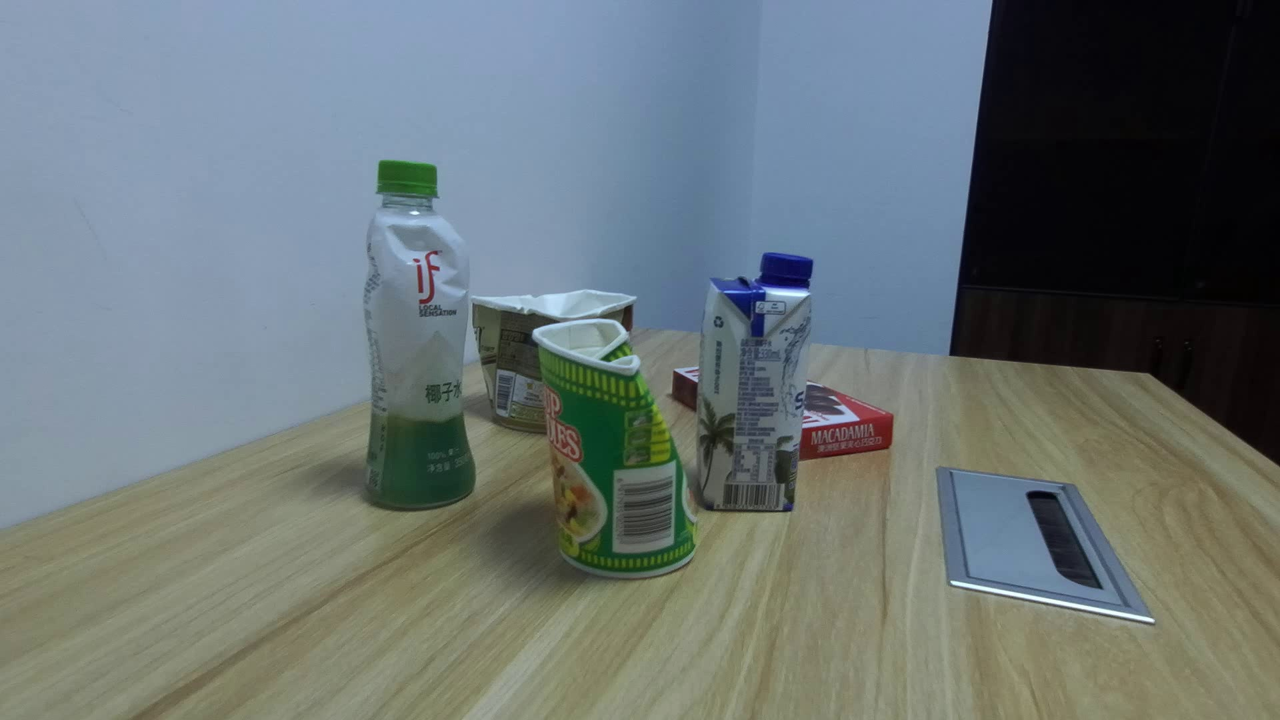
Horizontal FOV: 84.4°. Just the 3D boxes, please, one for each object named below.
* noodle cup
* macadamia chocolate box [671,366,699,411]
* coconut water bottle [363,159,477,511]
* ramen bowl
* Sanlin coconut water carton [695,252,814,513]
[{"bbox_3d":[-0.008,0.040,0.342,0.075,0.122,0.083,0,20,28],"label":"noodle cup"},{"bbox_3d":[0.105,0.036,0.566,0.096,0.027,0.177,-3,14,-23],"label":"macadamia chocolate box"},{"bbox_3d":[-0.127,-0.014,0.398,0.067,0.187,0.067,2,11,0],"label":"coconut water bottle"},{"bbox_3d":[-0.058,-0.006,0.573,0.113,0.097,0.134,10,17,33],"label":"ramen bowl"},{"bbox_3d":[0.064,0.011,0.405,0.061,0.144,0.060,0,14,-4],"label":"Sanlin coconut water carton"}]
